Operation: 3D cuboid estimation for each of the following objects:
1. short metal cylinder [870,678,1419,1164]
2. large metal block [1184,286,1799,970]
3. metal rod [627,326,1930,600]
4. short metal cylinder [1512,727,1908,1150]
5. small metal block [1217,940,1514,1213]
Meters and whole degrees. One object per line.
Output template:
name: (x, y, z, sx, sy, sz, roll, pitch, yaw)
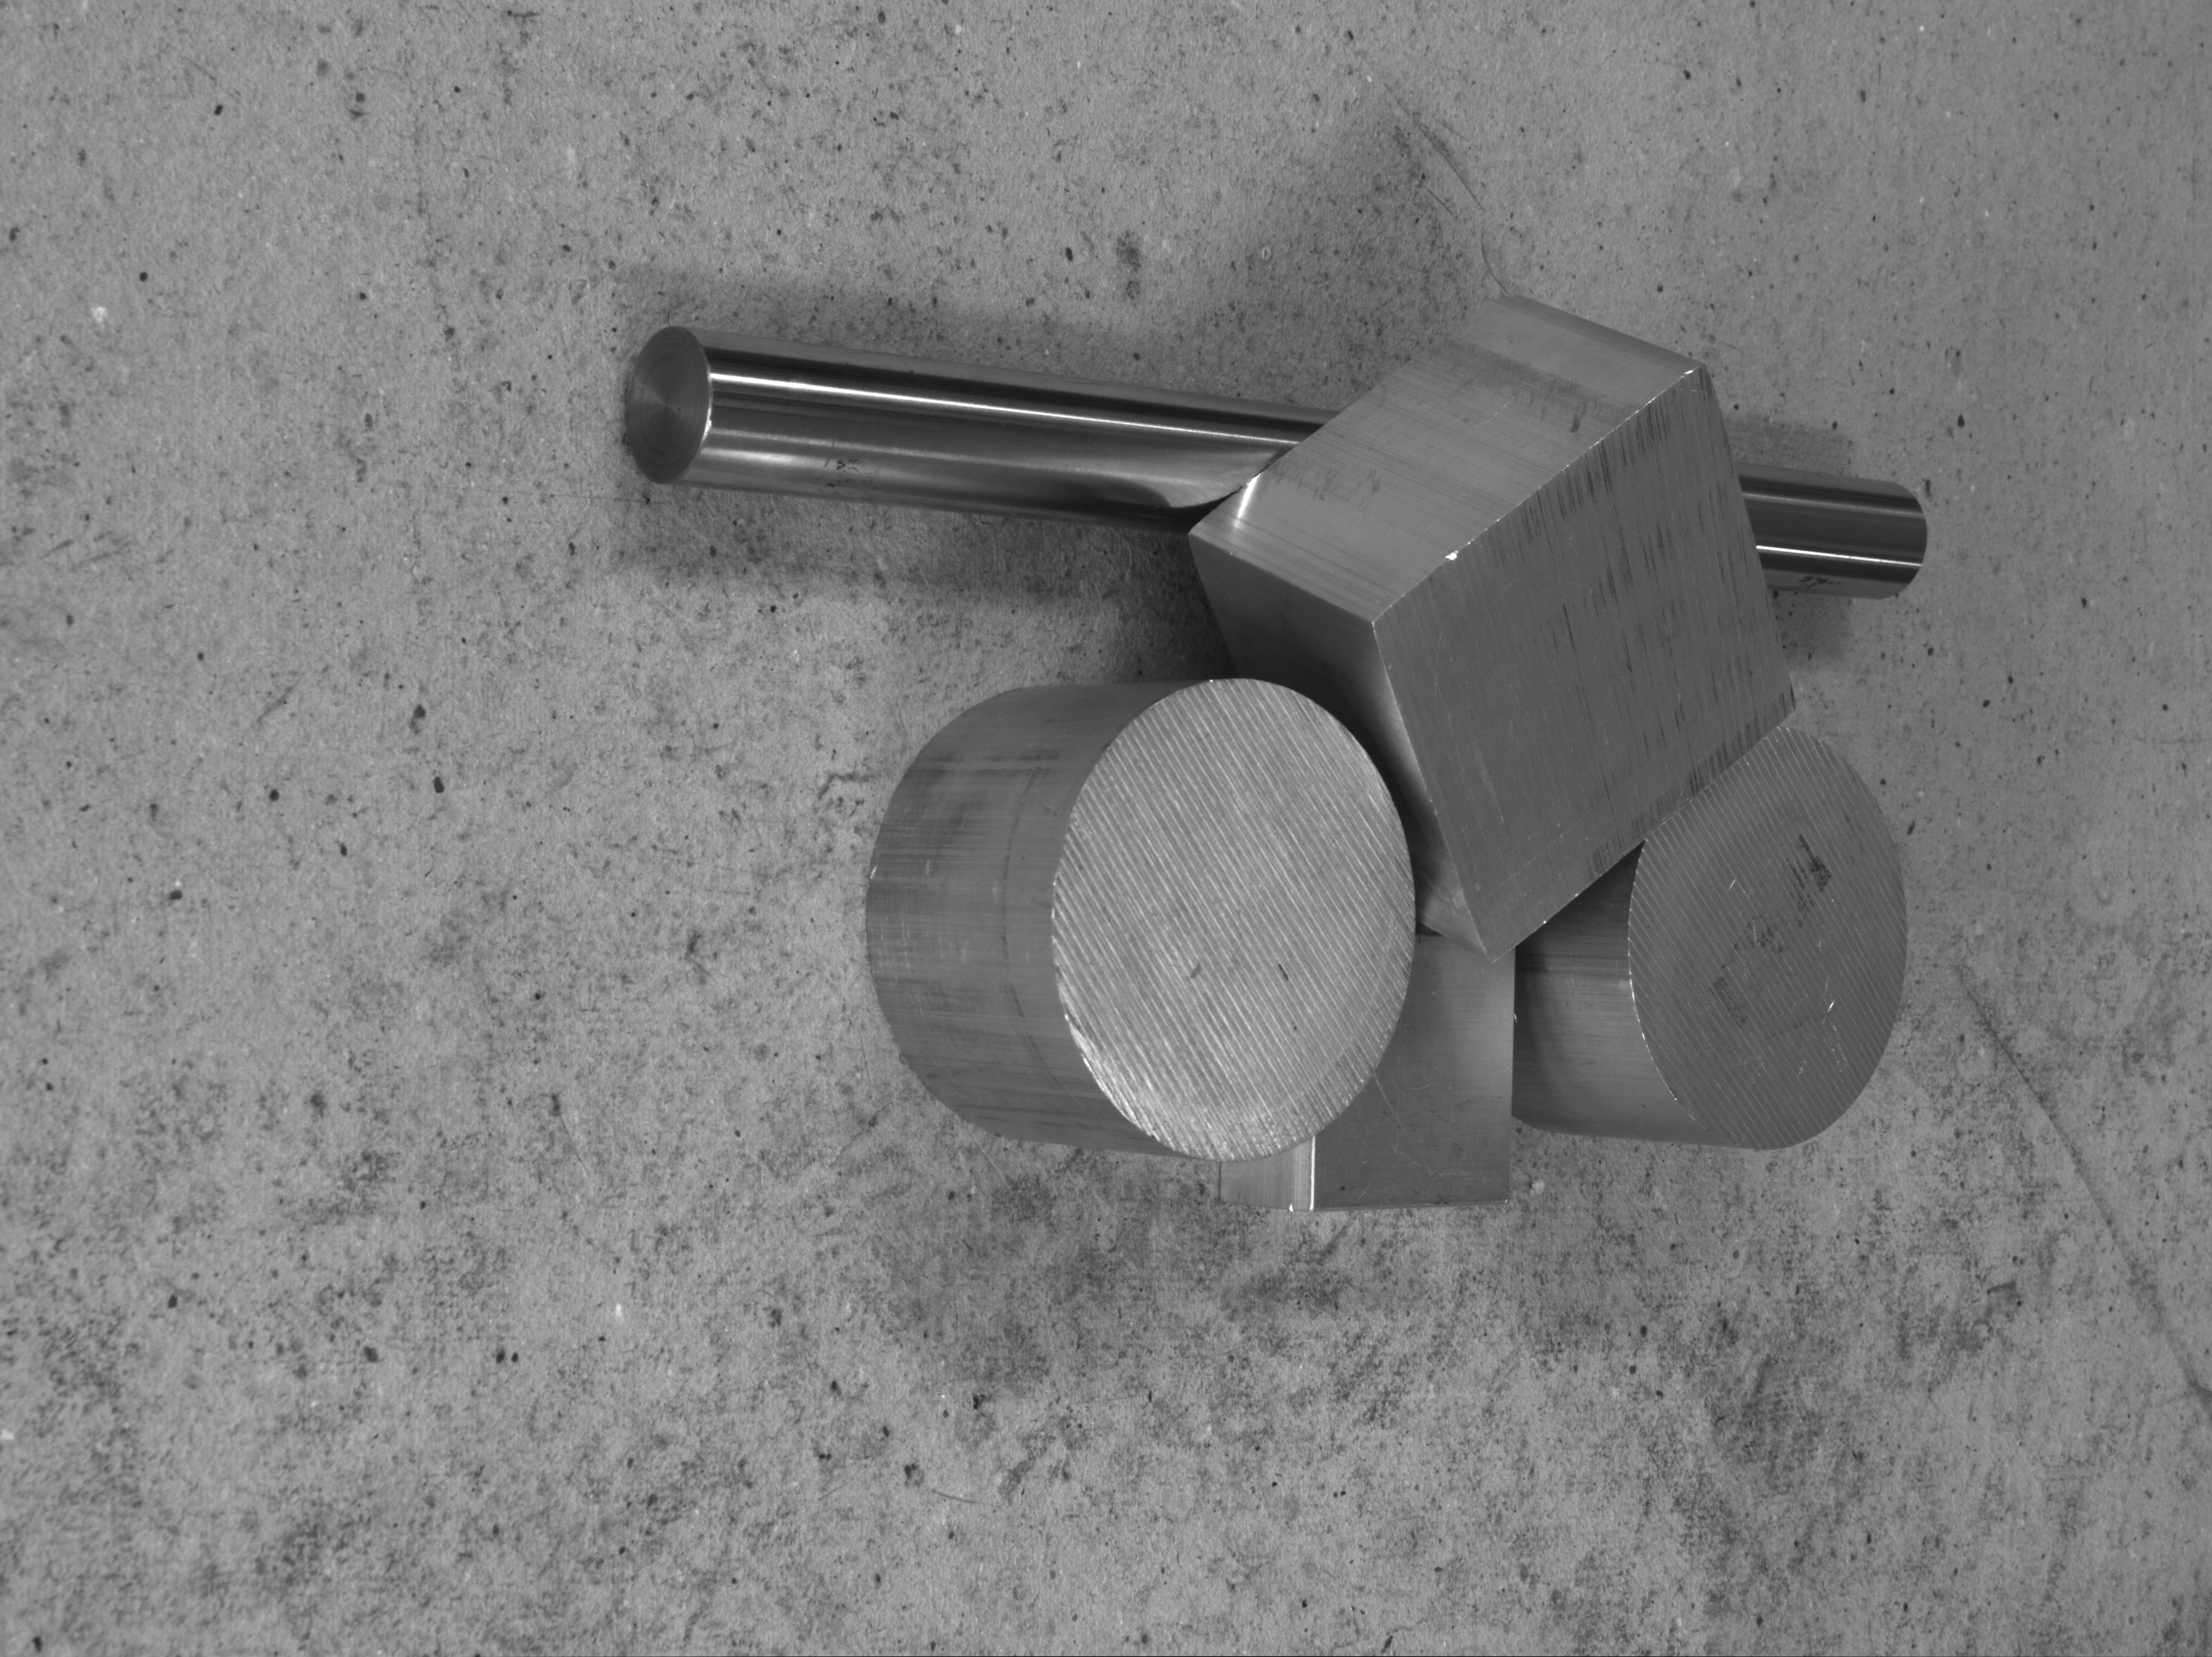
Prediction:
short metal cylinder: (0.007, 0.015, 0.625, 0.080, 0.050, 0.080, 0, 90, -40)
large metal block: (0.070, -0.036, 0.656, 0.080, 0.050, 0.080, -38, 130, -19)
metal rod: (0.047, -0.064, 0.675, 0.301, 0.025, 0.025, 2, 89, -40)
short metal cylinder: (0.110, 0.020, 0.711, 0.080, 0.050, 0.080, 0, 90, -40)
small metal block: (0.048, 0.044, 0.677, 0.050, 0.025, 0.050, 3, 88, -40)
